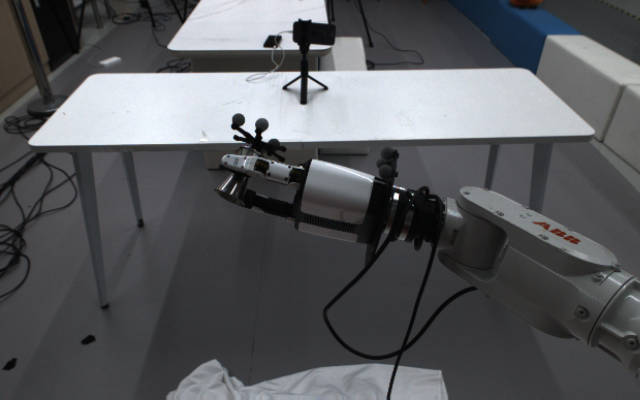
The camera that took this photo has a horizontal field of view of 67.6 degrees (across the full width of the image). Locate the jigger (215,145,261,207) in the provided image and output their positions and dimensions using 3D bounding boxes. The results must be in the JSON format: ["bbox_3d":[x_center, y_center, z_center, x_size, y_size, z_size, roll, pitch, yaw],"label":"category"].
[{"bbox_3d":[-0.104,-0.034,0.630,0.043,0.043,0.071,20,73,23],"label":"jigger"}]
